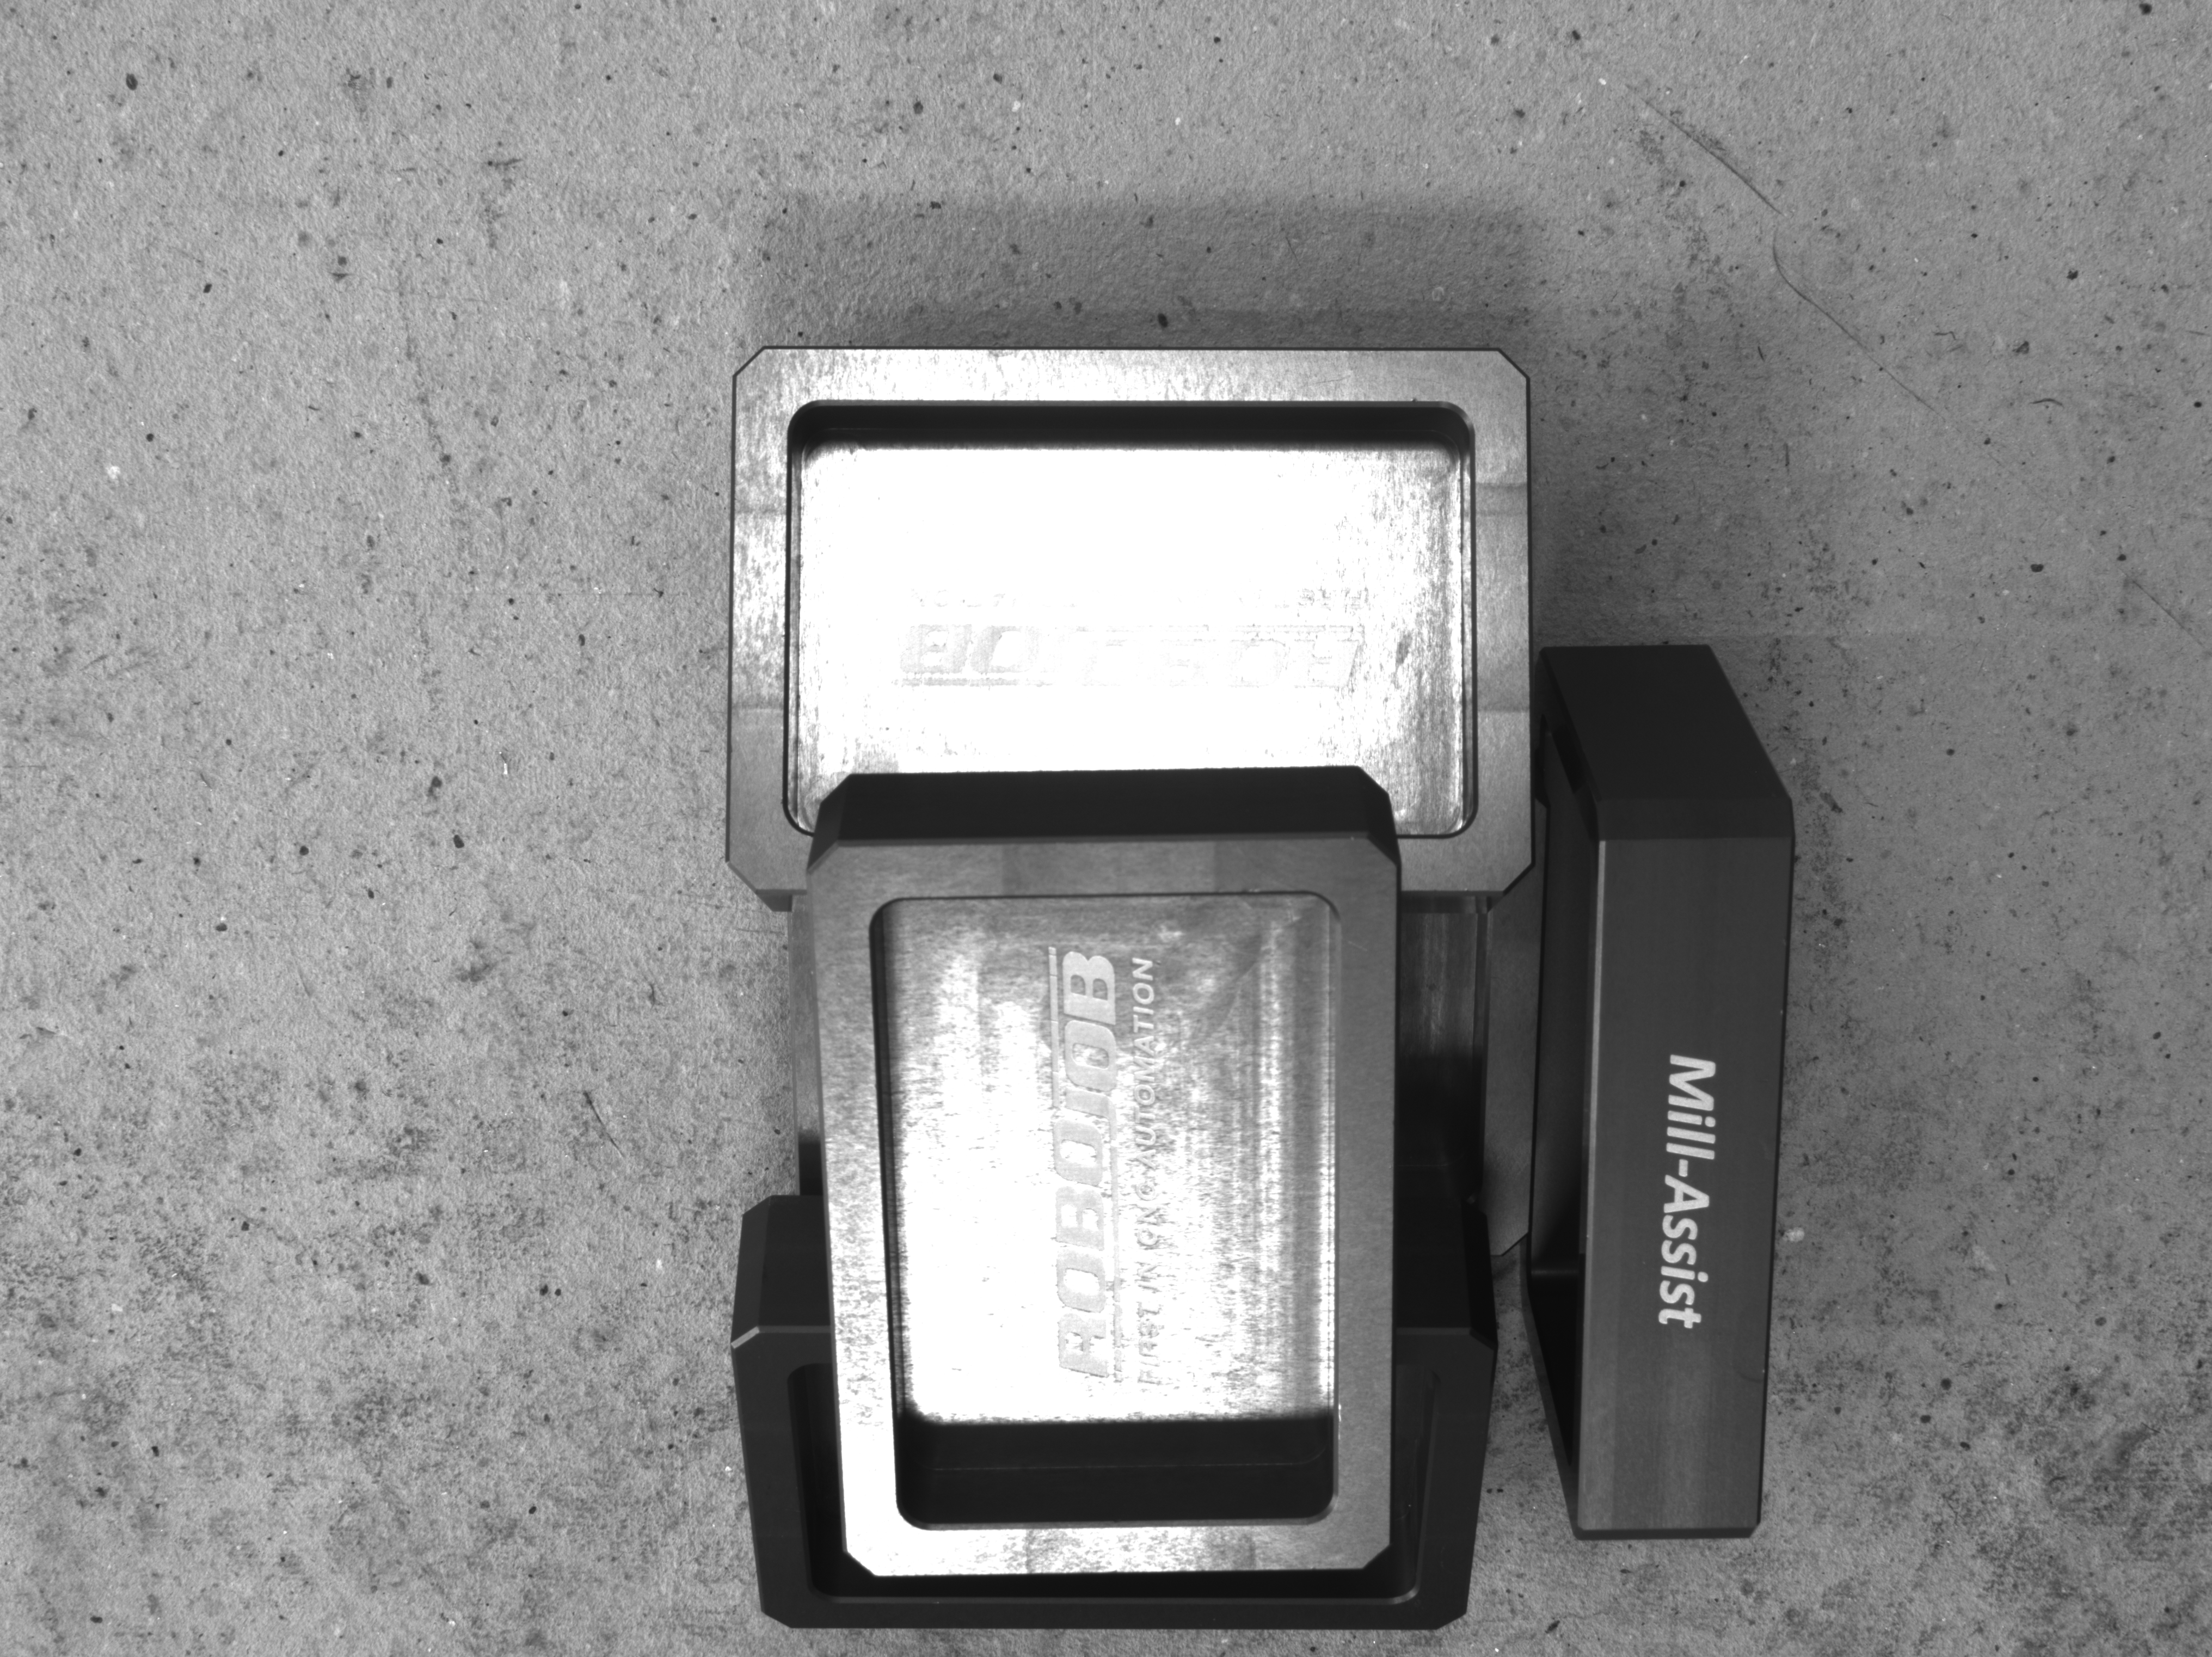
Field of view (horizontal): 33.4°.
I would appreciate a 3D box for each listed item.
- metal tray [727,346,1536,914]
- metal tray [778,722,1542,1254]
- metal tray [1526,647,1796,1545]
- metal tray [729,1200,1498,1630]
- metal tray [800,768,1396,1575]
[{"bbox_3d":[0.004,-0.032,0.611,0.130,0.030,0.090,0,83,0],"label":"metal tray"},{"bbox_3d":[0.009,0.029,0.650,0.130,0.030,0.090,-1,112,0],"label":"metal tray"},{"bbox_3d":[0.092,0.044,0.625,0.030,0.090,0.130,-1,110,1],"label":"metal tray"},{"bbox_3d":[0.001,0.106,0.662,0.130,0.030,0.090,0,135,0],"label":"metal tray"},{"bbox_3d":[0.000,0.056,0.593,0.090,0.030,0.130,-1,112,1],"label":"metal tray"}]
